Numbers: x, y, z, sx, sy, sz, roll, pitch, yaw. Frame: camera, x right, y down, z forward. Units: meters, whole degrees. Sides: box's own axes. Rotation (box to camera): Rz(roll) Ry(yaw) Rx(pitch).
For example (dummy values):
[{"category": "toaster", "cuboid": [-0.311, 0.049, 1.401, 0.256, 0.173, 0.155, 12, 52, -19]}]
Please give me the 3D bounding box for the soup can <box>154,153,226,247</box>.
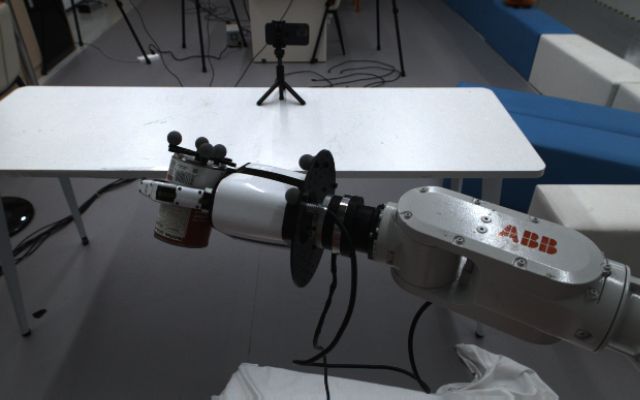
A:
[{"category": "soup can", "cuboid": [-0.156, 0.001, 0.586, 0.067, 0.101, 0.067, 15, 7, -2]}]
